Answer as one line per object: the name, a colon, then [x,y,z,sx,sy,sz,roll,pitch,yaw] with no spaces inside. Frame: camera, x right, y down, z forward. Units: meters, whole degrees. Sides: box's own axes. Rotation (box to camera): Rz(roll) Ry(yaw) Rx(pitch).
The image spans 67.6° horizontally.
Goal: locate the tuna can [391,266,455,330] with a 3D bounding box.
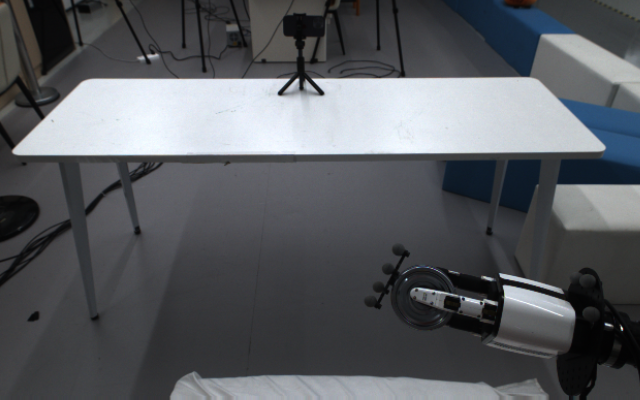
tuna can: [0.140,0.127,0.645,0.085,0.085,0.034,9,-5,10]
